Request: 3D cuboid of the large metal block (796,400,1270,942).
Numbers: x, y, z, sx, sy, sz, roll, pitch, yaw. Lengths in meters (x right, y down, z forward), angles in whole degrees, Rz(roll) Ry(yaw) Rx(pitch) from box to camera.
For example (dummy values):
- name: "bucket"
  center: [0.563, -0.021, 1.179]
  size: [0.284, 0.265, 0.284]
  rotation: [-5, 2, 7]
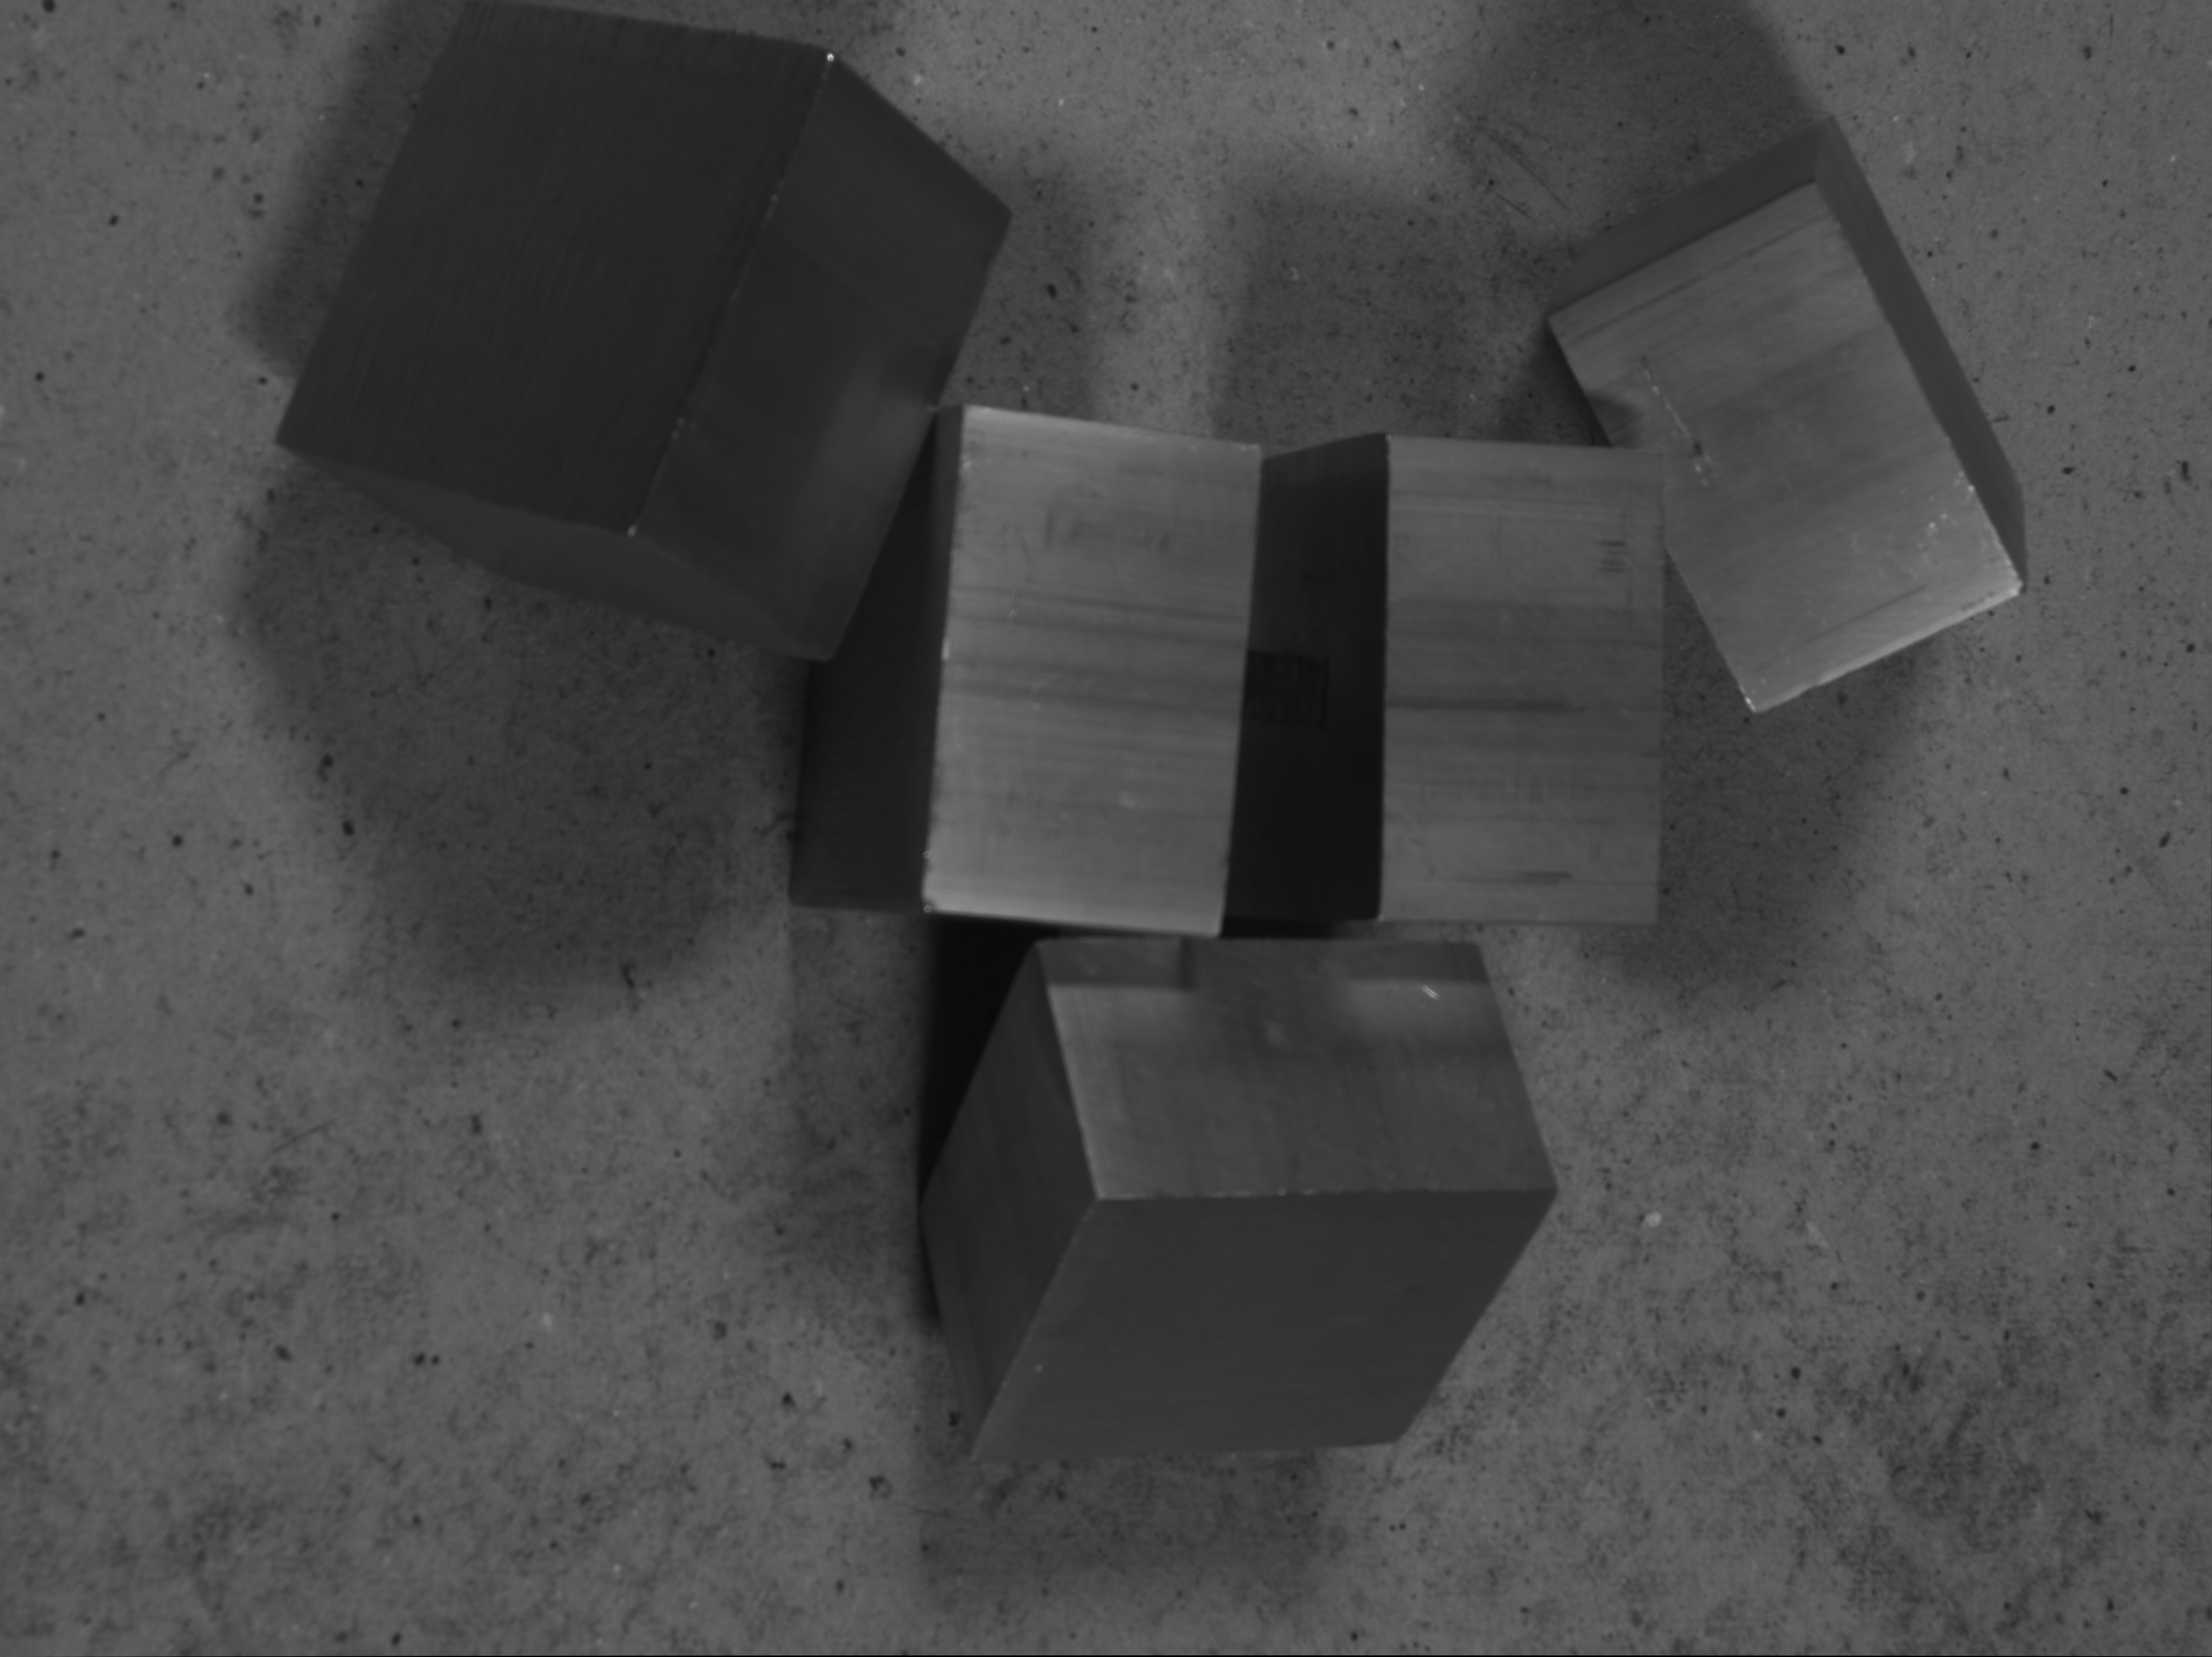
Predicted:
- name: "large metal block"
  center: [-0.014, -0.024, 0.609]
  size: [0.050, 0.080, 0.080]
  rotation: [5, 88, -20]

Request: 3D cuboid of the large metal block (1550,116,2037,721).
- name: "large metal block"
  center: [0.125, -0.075, 0.653]
  size: [0.050, 0.080, 0.080]
  rotation: [-26, 100, 20]

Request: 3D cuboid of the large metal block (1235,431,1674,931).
- name: "large metal block"
  center: [0.056, -0.023, 0.635]
  size: [0.050, 0.080, 0.080]
  rotation: [1, 90, -20]

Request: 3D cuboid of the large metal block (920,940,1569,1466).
- name: "large metal block"
  center: [0.021, 0.063, 0.615]
  size: [0.080, 0.080, 0.050]
  rotation: [1, 50, -20]

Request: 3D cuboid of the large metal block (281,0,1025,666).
- name: "large metal block"
  center: [-0.071, -0.079, 0.579]
  size: [0.050, 0.080, 0.080]
  rotation: [32, 77, -53]
